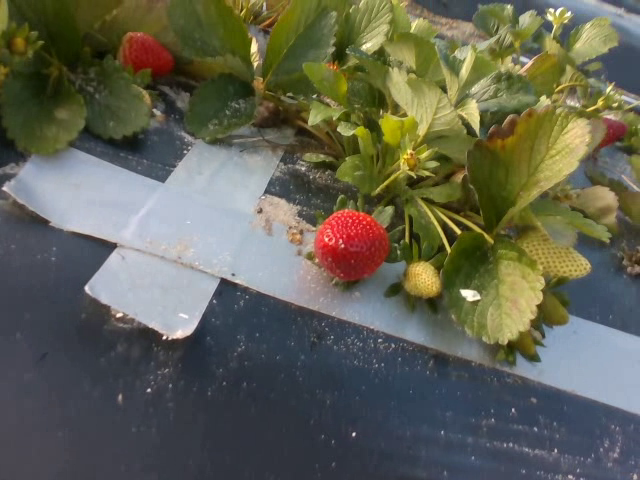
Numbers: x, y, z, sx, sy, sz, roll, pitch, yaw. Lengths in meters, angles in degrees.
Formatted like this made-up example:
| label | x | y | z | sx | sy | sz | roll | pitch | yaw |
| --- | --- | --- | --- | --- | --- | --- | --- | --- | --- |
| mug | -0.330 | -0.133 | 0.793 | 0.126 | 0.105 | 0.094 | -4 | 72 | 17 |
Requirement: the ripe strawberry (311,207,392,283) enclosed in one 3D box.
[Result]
| label | x | y | z | sx | sy | sz | roll | pitch | yaw |
| --- | --- | --- | --- | --- | --- | --- | --- | --- | --- |
| ripe strawberry | 0.007 | 0.000 | 0.142 | 0.023 | 0.021 | 0.026 | 9 | 13 | 19 |
